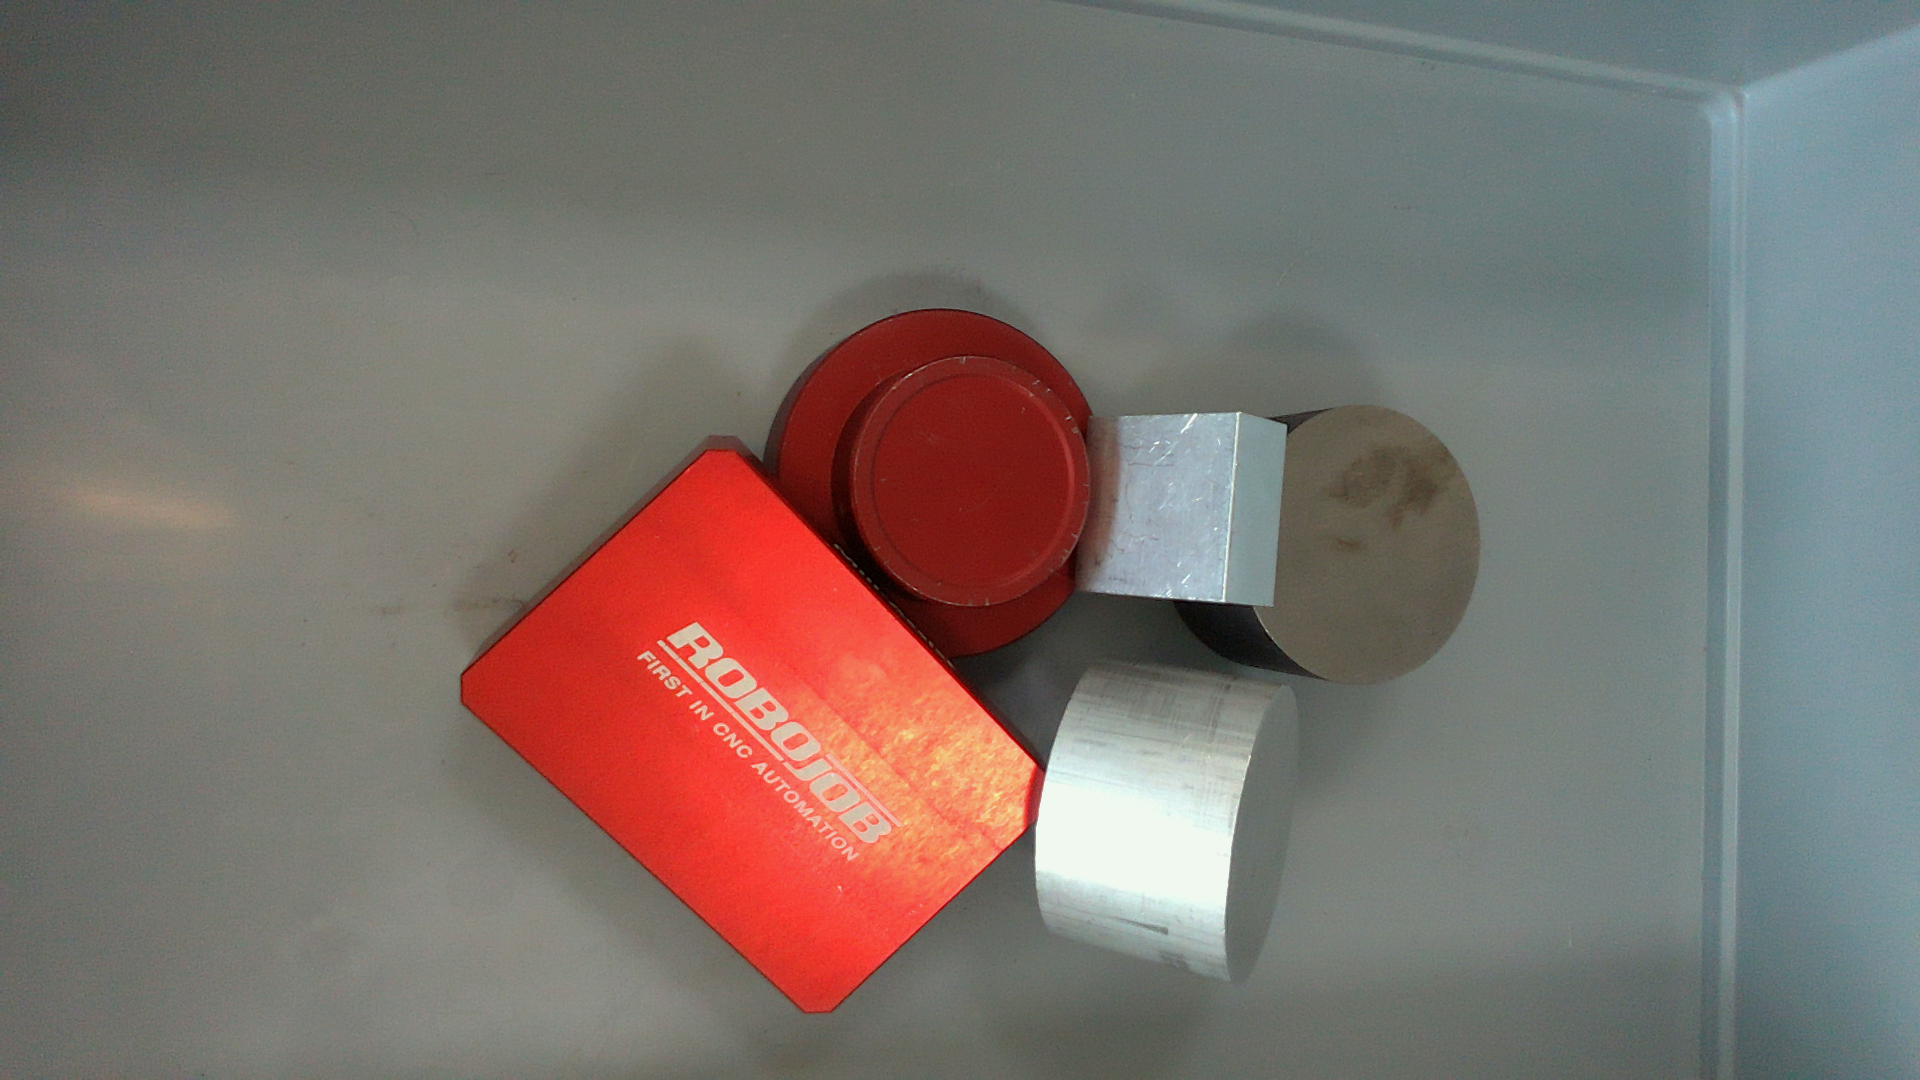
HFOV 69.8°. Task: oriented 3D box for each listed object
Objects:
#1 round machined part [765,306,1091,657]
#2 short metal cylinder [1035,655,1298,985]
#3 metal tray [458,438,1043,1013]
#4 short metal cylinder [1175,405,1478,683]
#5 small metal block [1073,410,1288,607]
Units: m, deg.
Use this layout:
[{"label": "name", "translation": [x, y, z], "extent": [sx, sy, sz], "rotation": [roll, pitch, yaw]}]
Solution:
[{"label": "round machined part", "translation": [-0.003, -0.016, 0.381], "extent": [0.098, 0.042, 0.098], "rotation": [0, 90, -20]}, {"label": "short metal cylinder", "translation": [0.059, 0.075, 0.378], "extent": [0.050, 0.080, 0.080], "rotation": [8, 87, 24]}, {"label": "metal tray", "translation": [-0.050, 0.048, 0.359], "extent": [0.090, 0.030, 0.130], "rotation": [-43, 104, 1]}, {"label": "short metal cylinder", "translation": [0.108, 0.001, 0.419], "extent": [0.080, 0.050, 0.080], "rotation": [0, 90, -20]}, {"label": "small metal block", "translation": [0.061, -0.008, 0.382], "extent": [0.025, 0.050, 0.050], "rotation": [7, 86, -48]}]
